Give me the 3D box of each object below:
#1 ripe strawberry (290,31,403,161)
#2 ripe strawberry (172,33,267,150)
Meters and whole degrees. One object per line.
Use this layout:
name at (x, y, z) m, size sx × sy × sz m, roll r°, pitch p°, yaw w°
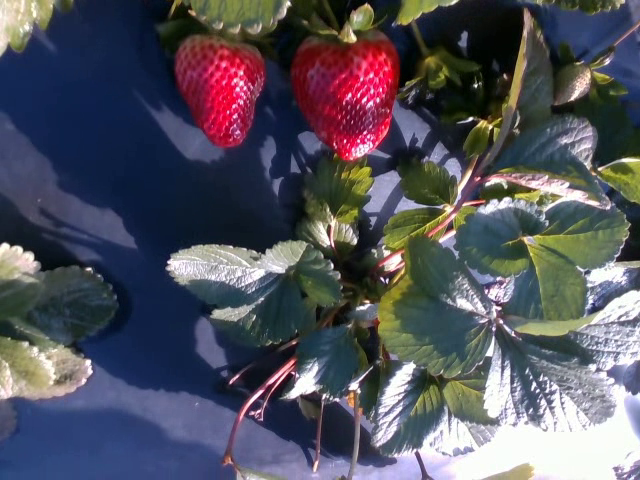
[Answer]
ripe strawberry at (0.014, -0.059, 0.261) m, size 0.052 × 0.057 × 0.046 m, roll -3°, pitch 13°, yaw 15°
ripe strawberry at (-0.041, -0.058, 0.249) m, size 0.043 × 0.051 × 0.037 m, roll -8°, pitch 14°, yaw 23°
